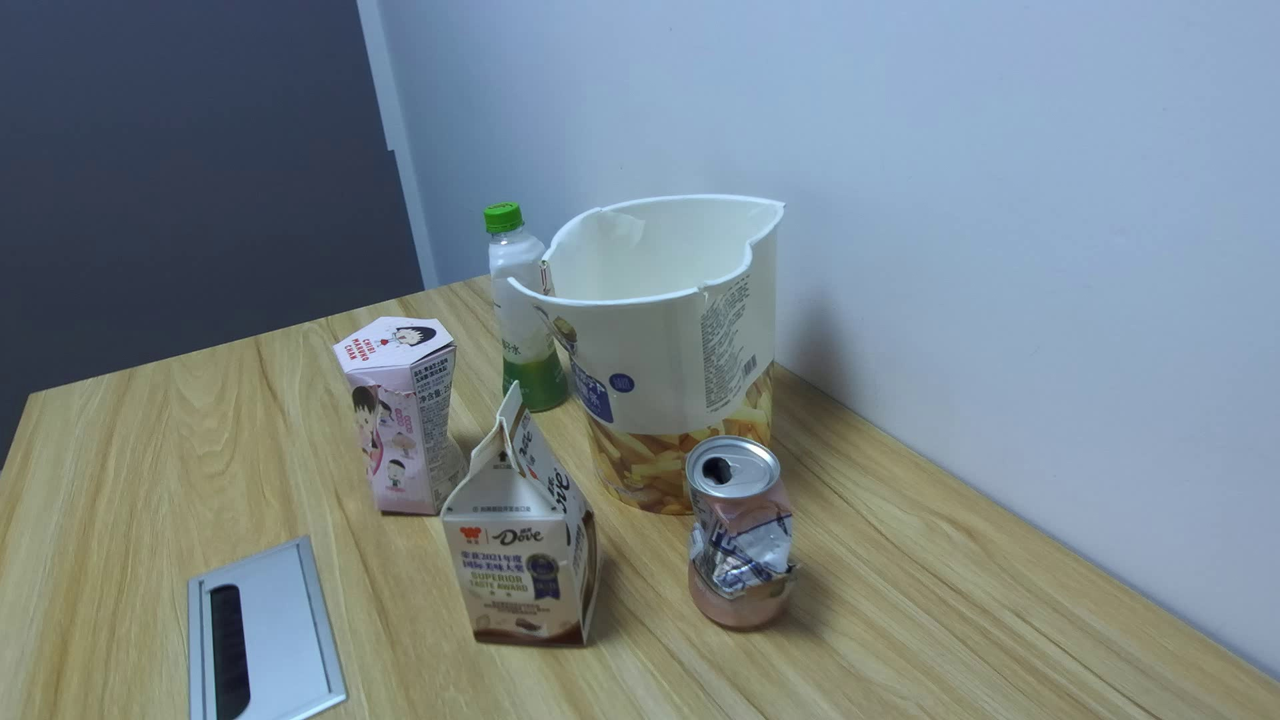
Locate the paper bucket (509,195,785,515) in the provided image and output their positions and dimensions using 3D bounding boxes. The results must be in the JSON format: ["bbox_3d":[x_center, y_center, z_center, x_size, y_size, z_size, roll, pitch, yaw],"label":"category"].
[{"bbox_3d":[0.023,-0.004,0.534,0.145,0.197,0.203,6,32,20],"label":"paper bucket"}]

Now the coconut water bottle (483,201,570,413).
[{"bbox_3d":[-0.105,-0.047,0.640,0.069,0.187,0.069,-4,29,2],"label":"coconut water bottle"}]

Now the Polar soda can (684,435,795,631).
[{"bbox_3d":[0.061,0.106,0.433,0.074,0.114,0.070,2,38,21],"label":"Polar soda can"}]

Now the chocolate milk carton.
[{"bbox_3d":[-0.069,0.091,0.430,0.073,0.155,0.084,0,31,8],"label":"chocolate milk carton"}]

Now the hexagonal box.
[{"bbox_3d":[-0.178,0.042,0.551,0.090,0.134,0.091,4,31,9],"label":"hexagonal box"}]
